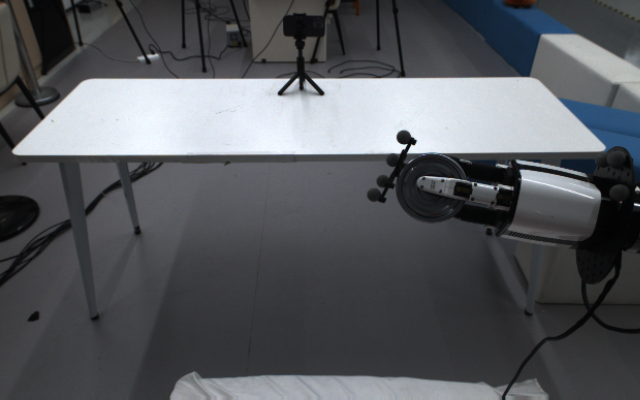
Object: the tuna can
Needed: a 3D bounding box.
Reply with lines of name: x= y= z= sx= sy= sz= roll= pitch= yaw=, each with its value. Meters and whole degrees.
tuna can: x=0.139 y=-0.018 z=0.594 sx=0.085 sy=0.085 sz=0.034 roll=8 pitch=4 yaw=9
